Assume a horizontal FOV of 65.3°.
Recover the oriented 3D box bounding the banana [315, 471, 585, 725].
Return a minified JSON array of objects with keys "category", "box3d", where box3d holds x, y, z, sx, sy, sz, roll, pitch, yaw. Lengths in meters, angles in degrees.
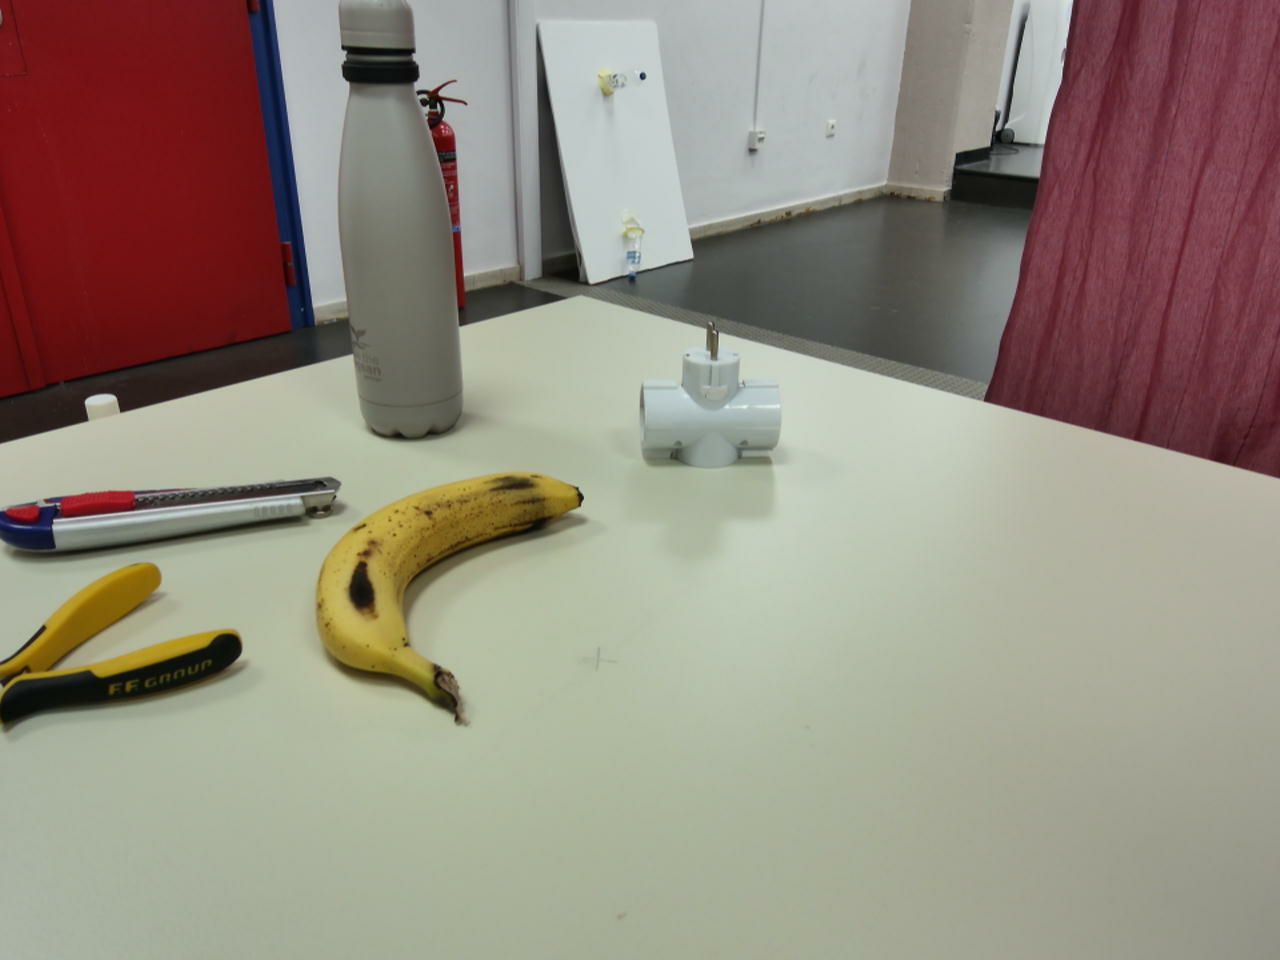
[{"category":"banana","box3d":[-0.099,0.039,0.499,0.097,0.038,0.186,7,25,12]}]
